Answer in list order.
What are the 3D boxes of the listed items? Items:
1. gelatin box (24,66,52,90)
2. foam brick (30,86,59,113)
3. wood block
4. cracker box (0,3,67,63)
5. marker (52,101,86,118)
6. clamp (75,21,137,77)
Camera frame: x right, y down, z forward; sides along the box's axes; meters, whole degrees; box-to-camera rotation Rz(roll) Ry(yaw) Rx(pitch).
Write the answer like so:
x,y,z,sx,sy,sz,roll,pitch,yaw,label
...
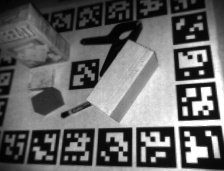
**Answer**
x,y,z,sx,sy,sz,roll,pitch,yaw,label
-0.251,-0.026,0.733,0.088,0.030,0.073,-5,73,17,gelatin box
-0.220,0.045,0.685,0.078,0.052,0.052,-28,68,9,foam brick
0.015,-0.009,0.608,0.089,0.092,0.206,33,83,27,wood block
-0.266,-0.152,0.668,0.163,0.216,0.072,-7,70,15,cracker box
-0.131,0.073,0.663,0.120,0.020,0.019,-23,69,10,marker
-0.009,-0.143,0.683,0.202,0.037,0.164,-33,67,6,clamp
